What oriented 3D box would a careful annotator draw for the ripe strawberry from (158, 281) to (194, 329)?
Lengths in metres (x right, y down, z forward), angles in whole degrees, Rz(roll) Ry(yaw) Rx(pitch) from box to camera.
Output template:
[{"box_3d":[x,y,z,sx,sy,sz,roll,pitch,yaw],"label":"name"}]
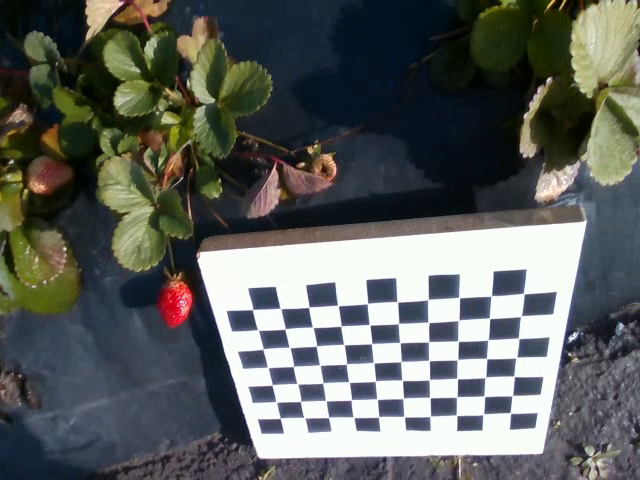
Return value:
[{"box_3d":[-0.108,0.048,0.484,0.034,0.038,0.033,-5,-16,9],"label":"ripe strawberry"}]
